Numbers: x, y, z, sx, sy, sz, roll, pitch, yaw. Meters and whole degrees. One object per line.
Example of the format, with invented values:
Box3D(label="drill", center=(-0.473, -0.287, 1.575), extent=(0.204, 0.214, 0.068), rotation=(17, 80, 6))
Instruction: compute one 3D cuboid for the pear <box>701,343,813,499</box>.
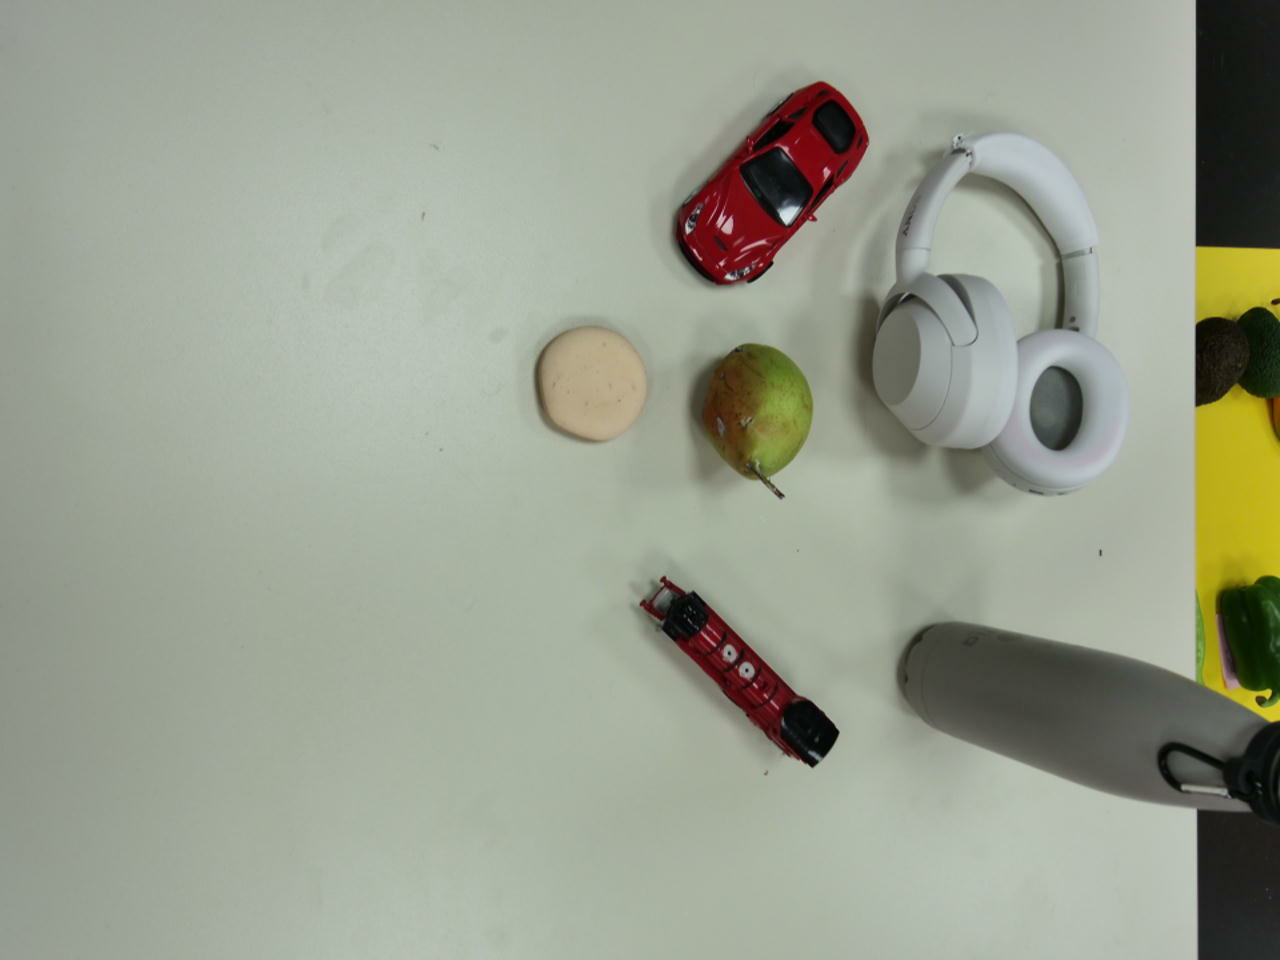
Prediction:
Box3D(label="pear", center=(0.065, -0.038, 0.558), extent=(0.070, 0.069, 0.068), rotation=(-41, 105, -17))
